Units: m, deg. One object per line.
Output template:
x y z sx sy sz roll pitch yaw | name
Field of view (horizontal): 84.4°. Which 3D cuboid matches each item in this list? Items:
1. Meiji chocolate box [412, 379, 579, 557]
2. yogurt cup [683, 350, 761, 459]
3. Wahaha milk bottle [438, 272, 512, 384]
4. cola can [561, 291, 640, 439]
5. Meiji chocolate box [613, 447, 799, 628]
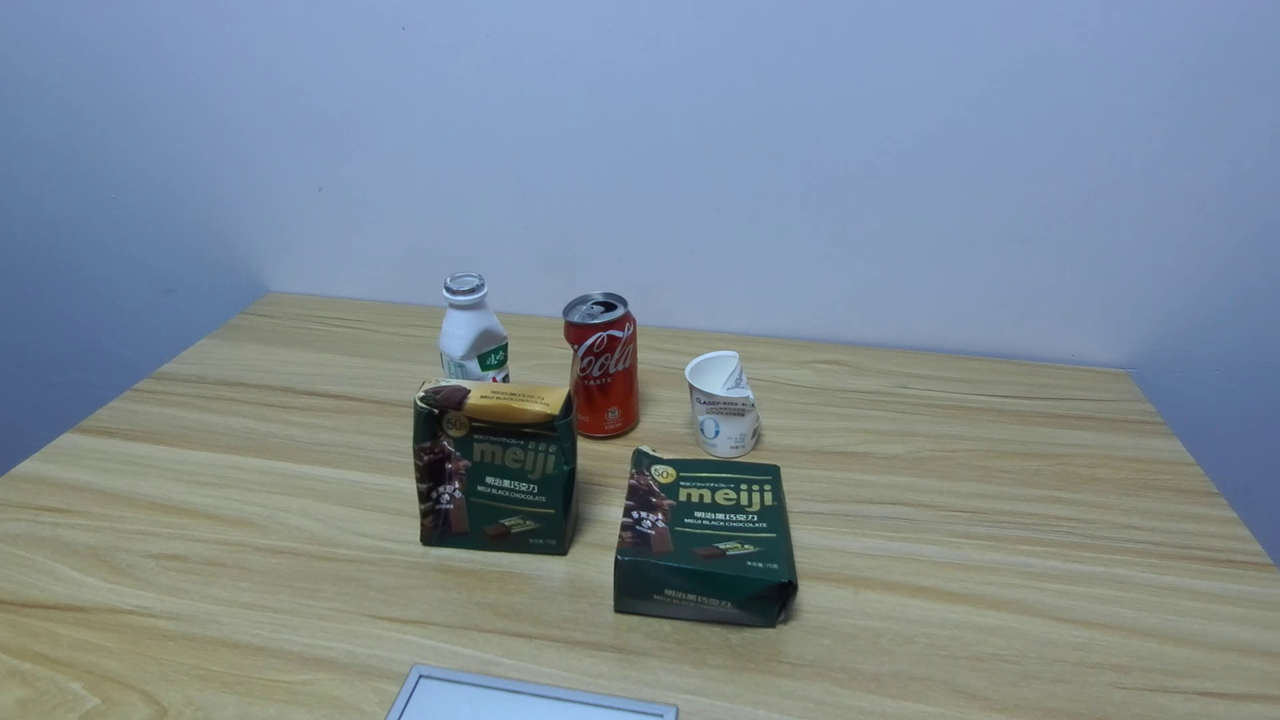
-0.100 0.074 0.502 0.117 0.117 0.051 3 23 4 | Meiji chocolate box
0.070 0.040 0.591 0.067 0.070 0.067 1 34 0 | yogurt cup
-0.136 0.000 0.585 0.056 0.148 0.056 2 33 -1 | Wahaha milk bottle
-0.032 0.006 0.607 0.065 0.117 0.072 2 30 0 | cola can
0.043 0.119 0.482 0.116 0.058 0.122 6 33 2 | Meiji chocolate box
